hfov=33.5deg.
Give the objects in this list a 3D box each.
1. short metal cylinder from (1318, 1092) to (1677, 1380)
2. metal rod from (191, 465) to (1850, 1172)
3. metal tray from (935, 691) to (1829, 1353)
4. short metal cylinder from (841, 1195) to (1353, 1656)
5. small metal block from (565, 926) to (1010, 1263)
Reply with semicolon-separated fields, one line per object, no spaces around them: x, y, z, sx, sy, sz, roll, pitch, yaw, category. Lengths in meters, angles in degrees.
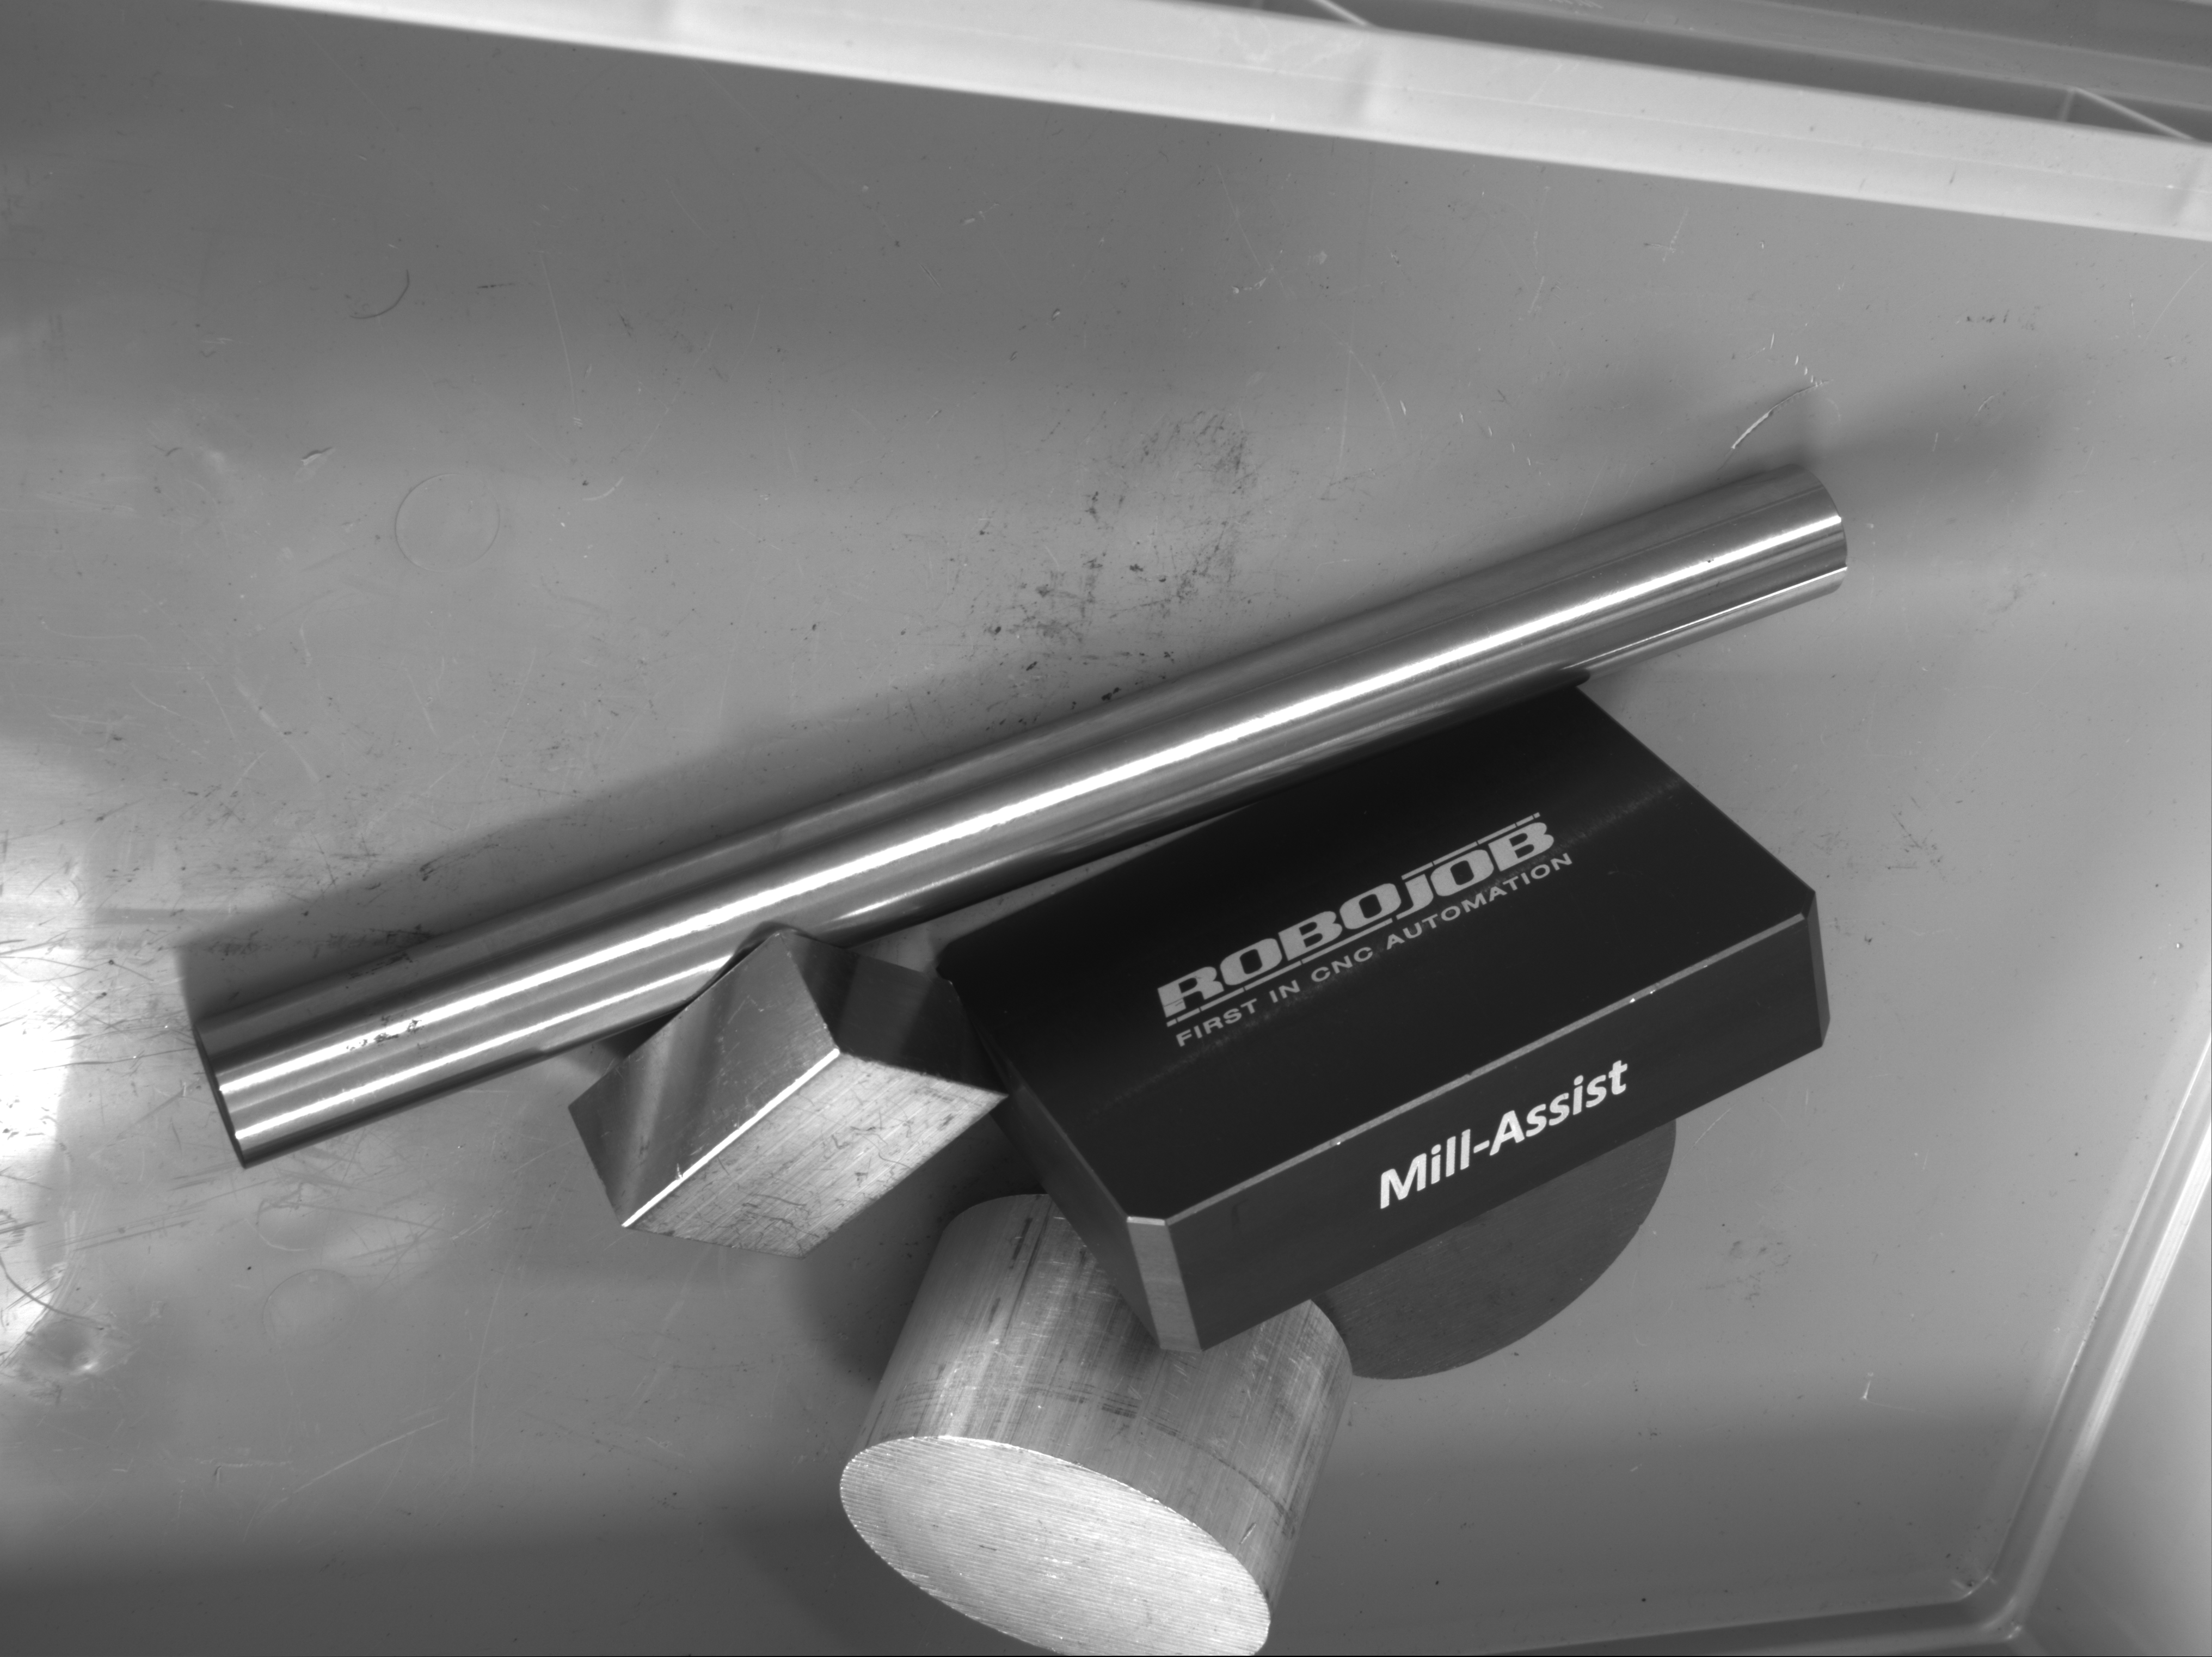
0.058;0.055;0.678;0.080;0.050;0.080;-18;134;-19;short metal cylinder
-0.006;-0.006;0.629;0.300;0.025;0.025;-20;126;-17;metal rod
0.047;0.029;0.637;0.130;0.090;0.030;-24;127;-14;metal tray
-0.001;0.110;0.658;0.080;0.080;0.050;56;44;-39;short metal cylinder
-0.053;0.046;0.619;0.050;0.025;0.050;-39;150;18;small metal block
